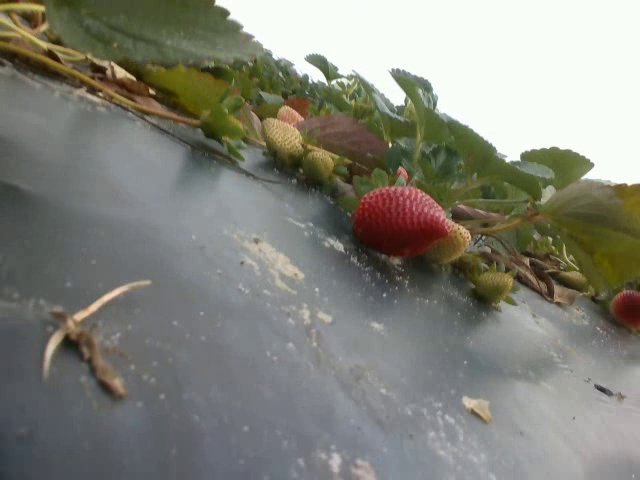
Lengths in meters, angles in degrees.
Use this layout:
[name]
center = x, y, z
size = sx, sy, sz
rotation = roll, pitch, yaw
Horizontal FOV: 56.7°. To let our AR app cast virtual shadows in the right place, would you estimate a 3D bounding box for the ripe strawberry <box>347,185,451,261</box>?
[ripe strawberry]
center = 0.042, -0.010, 0.277
size = 0.050, 0.034, 0.059
rotation = 22, -1, -32
